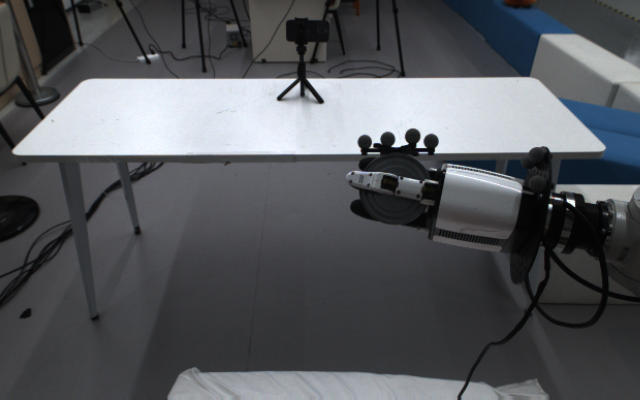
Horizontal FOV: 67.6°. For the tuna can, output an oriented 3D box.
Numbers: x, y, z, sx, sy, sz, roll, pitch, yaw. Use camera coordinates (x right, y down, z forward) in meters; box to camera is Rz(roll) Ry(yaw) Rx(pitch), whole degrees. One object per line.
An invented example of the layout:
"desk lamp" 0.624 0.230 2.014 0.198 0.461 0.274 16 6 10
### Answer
"tuna can" 0.093 -0.014 0.583 0.085 0.085 0.034 13 -3 16
